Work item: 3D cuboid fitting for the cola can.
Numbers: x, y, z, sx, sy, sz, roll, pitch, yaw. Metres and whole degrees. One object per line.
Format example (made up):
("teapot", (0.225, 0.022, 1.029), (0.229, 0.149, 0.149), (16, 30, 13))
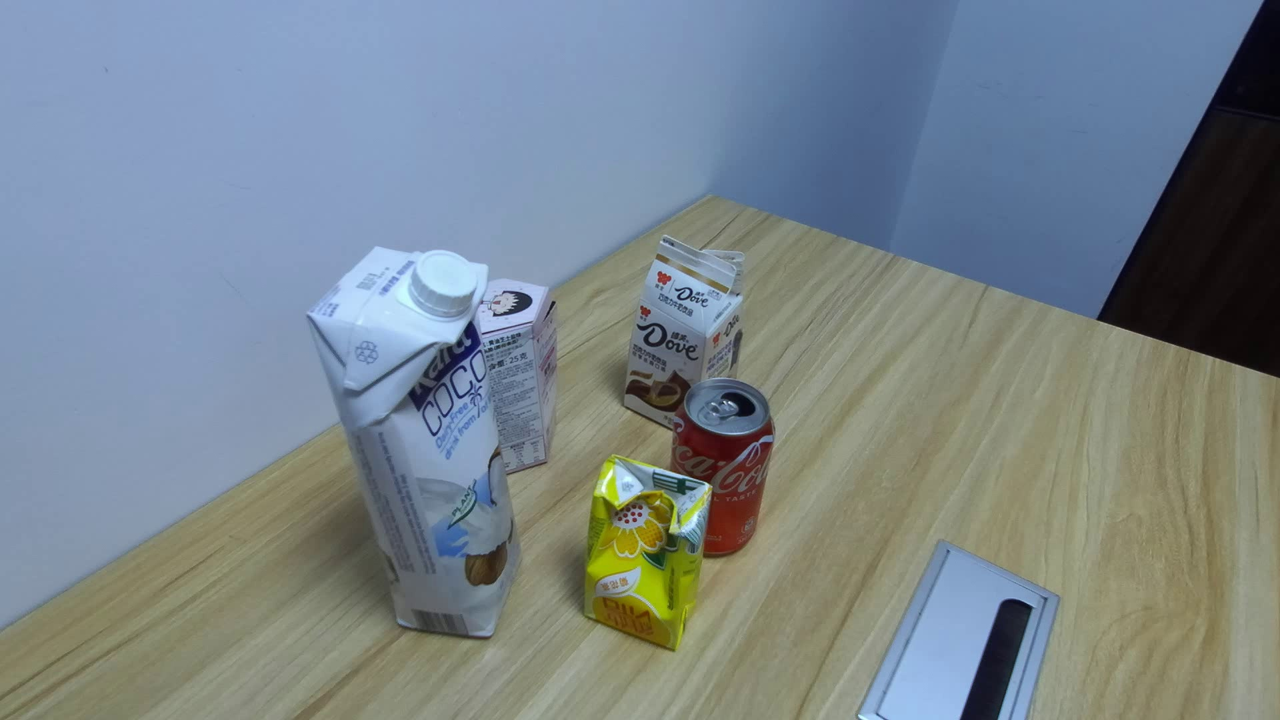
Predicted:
("cola can", (0.054, 0.073, 0.482), (0.068, 0.120, 0.067), (2, 37, -1))

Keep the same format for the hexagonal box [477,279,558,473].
("hexagonal box", (-0.108, 0.013, 0.539), (0.085, 0.135, 0.092), (4, 38, 2))

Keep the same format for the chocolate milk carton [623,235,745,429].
("chocolate milk carton", (0.036, -0.025, 0.574), (0.084, 0.155, 0.073), (23, 42, 26))

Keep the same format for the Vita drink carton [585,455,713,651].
("Vita drink carton", (0.002, 0.119, 0.428), (0.071, 0.110, 0.046), (15, 37, 18))

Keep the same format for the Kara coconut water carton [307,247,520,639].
("Kara coconut water carton", (-0.115, 0.050, 0.399), (0.071, 0.244, 0.099), (7, 38, 5))
